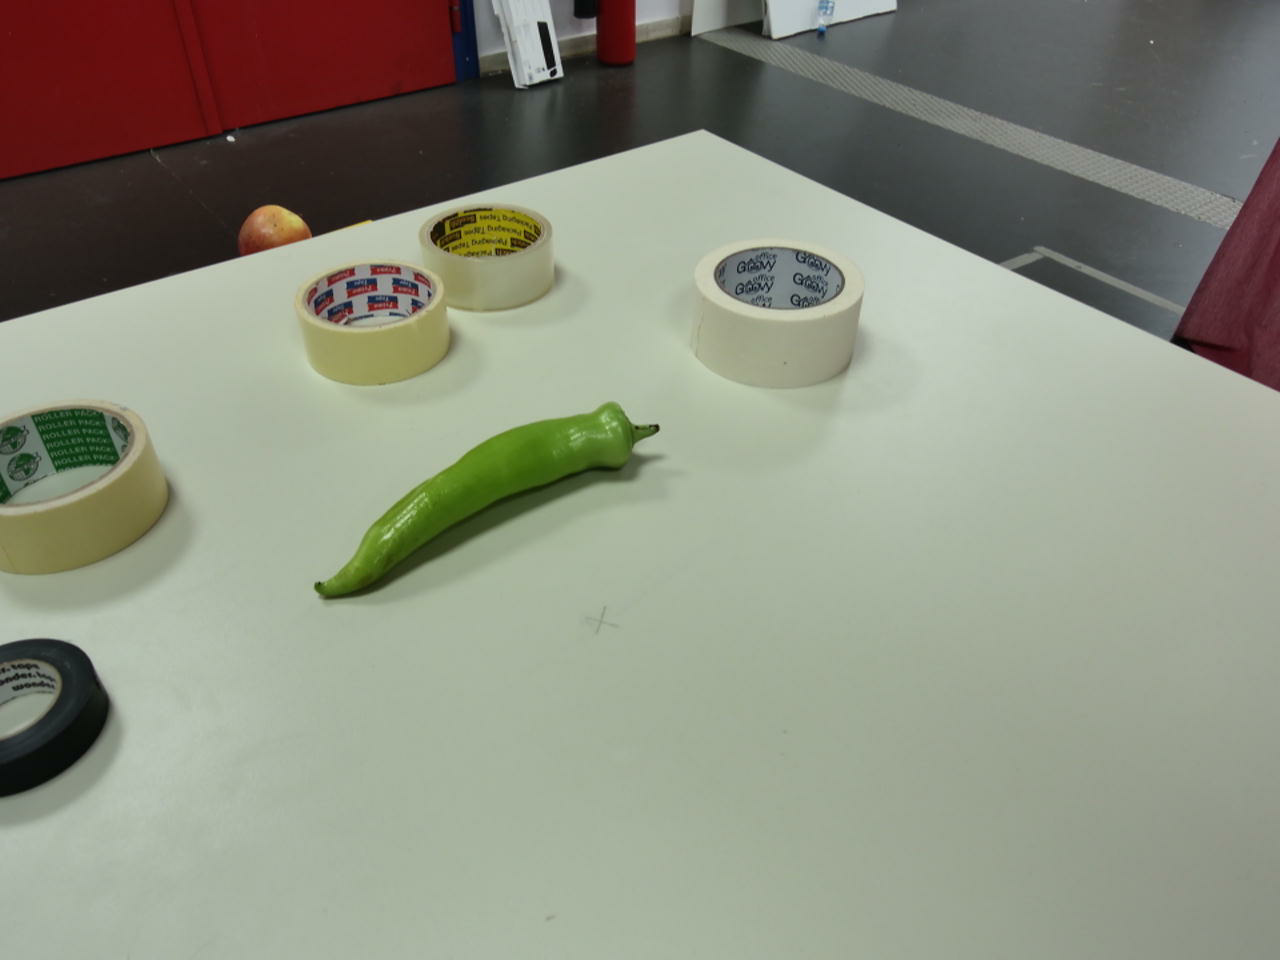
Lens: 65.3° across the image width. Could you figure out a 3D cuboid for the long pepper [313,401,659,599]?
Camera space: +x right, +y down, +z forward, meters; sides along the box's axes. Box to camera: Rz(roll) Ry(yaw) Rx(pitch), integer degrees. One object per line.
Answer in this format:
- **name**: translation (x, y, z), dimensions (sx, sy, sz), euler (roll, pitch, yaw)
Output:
- **long pepper**: translation (-0.078, 0.001, 0.510), dimensions (0.197, 0.038, 0.047), euler (-24, 44, -28)
